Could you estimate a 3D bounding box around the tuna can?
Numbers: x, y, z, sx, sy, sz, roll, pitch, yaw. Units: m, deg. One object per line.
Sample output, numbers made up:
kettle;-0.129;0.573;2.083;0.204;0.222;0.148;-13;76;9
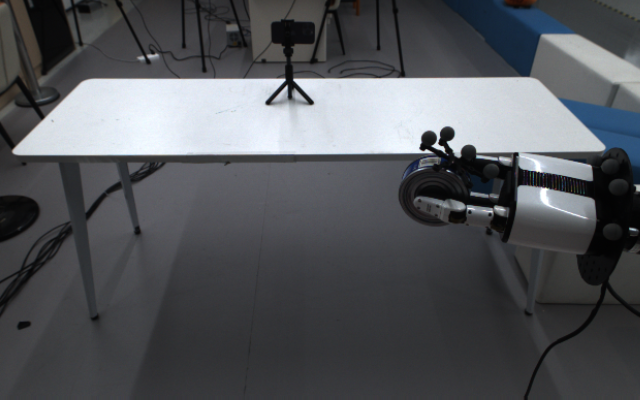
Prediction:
tuna can;0.142;-0.012;0.592;0.085;0.085;0.034;12;35;14
